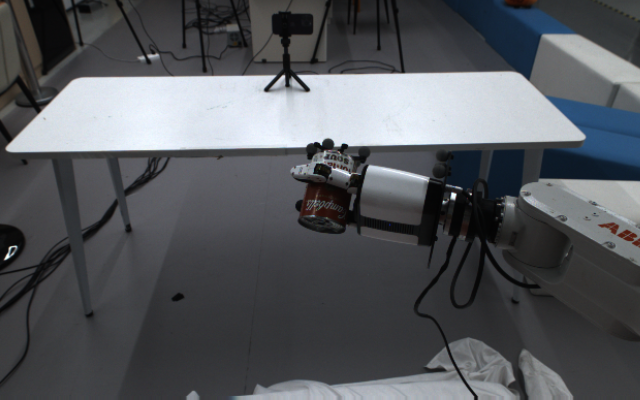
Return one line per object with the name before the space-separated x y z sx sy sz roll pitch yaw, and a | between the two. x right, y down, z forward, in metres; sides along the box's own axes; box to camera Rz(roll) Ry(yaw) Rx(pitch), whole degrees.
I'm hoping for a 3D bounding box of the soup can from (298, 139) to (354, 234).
soup can | 0.013 -0.011 0.679 0.067 0.067 0.101 9 71 9
